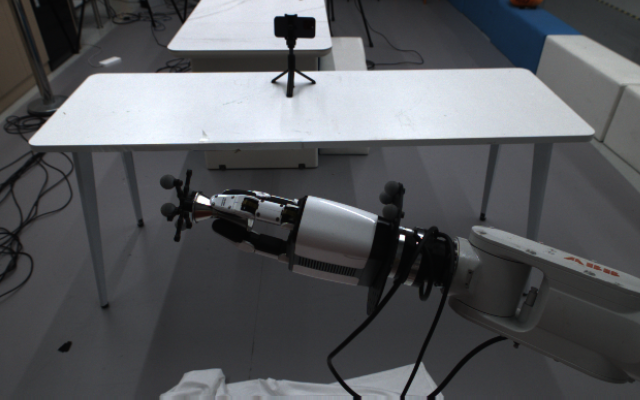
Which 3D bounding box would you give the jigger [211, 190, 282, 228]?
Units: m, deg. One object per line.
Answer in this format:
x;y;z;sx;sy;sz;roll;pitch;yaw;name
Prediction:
-0.107;0.009;0.587;0.071;0.043;0.043;6;35;2;jigger
